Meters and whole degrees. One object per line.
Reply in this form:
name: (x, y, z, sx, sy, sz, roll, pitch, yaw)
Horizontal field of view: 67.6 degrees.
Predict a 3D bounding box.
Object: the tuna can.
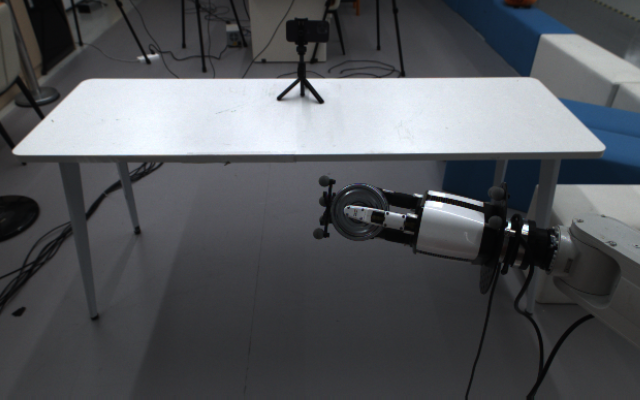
tuna can: (0.062, 0.020, 0.713, 0.085, 0.085, 0.034, 10, 2, 11)
